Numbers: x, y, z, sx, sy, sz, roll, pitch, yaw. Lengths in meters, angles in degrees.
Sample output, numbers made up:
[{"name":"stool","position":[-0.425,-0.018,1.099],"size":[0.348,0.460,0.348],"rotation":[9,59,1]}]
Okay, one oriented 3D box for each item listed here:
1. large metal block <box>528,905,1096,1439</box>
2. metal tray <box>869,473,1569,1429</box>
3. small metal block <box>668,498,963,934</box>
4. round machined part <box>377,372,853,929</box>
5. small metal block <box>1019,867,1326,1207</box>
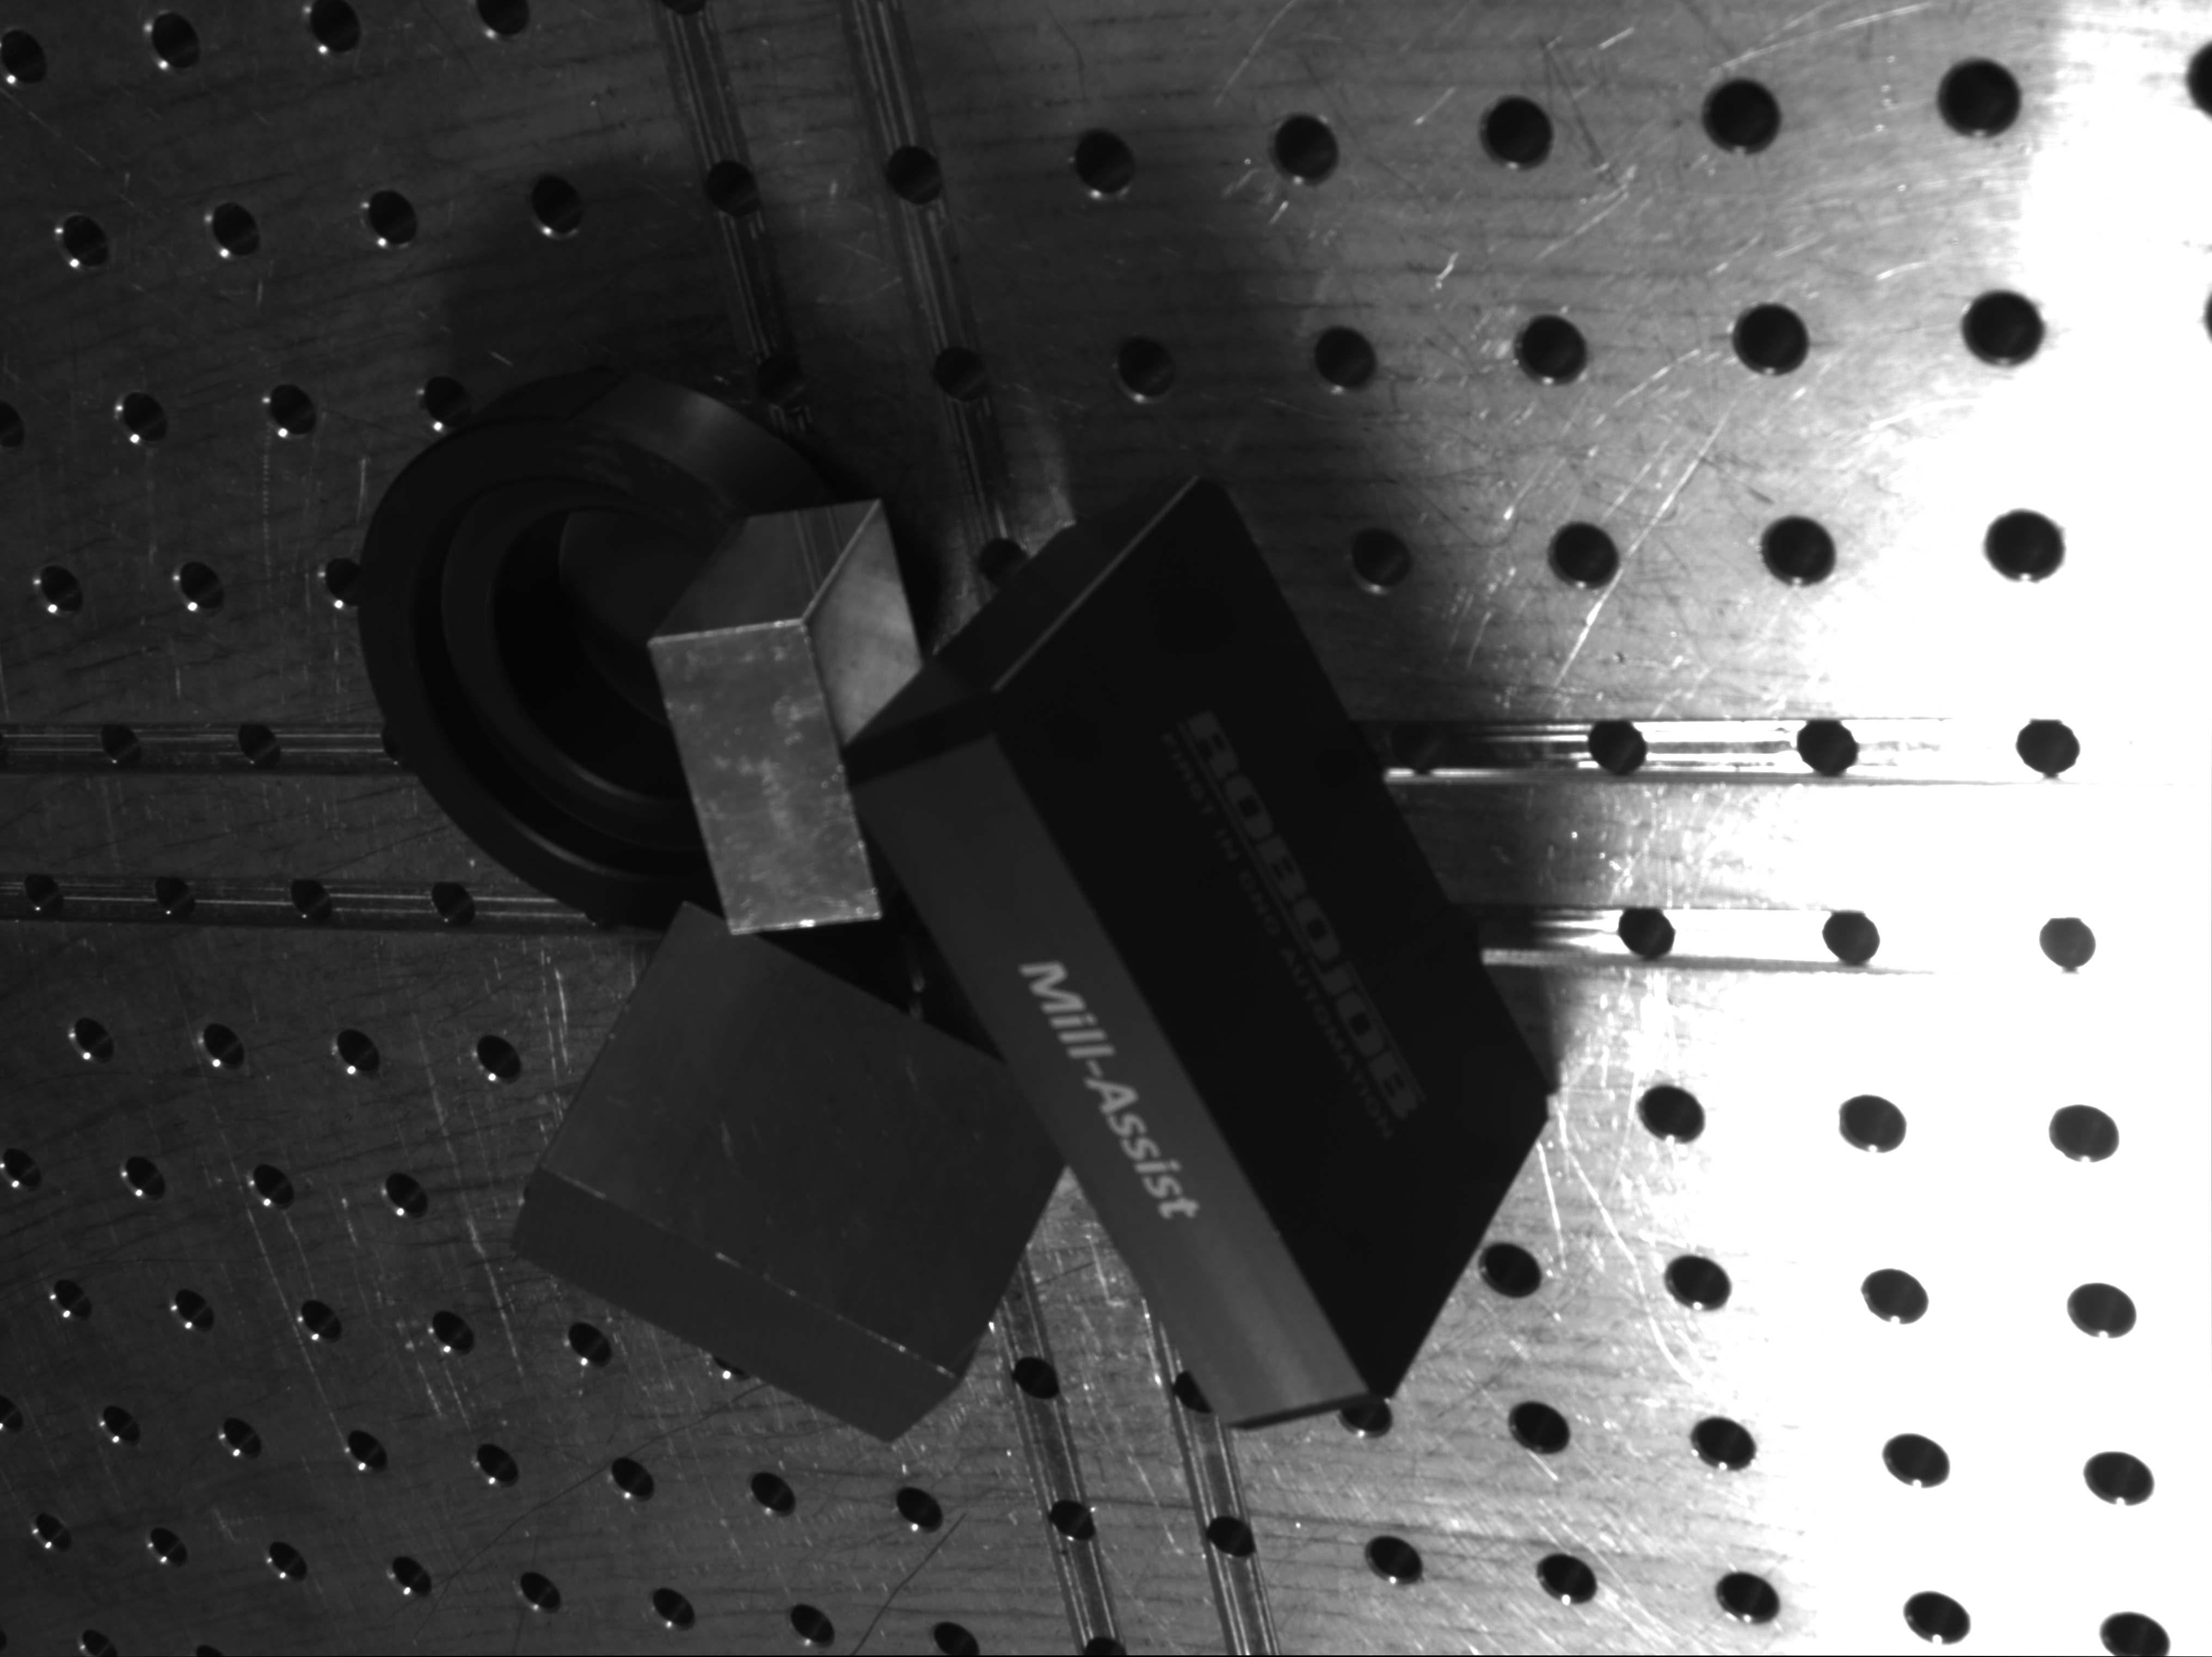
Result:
[{"name":"large metal block","position":[-0.053,0.064,0.654],"size":[0.080,0.050,0.080],"rotation":[27,160,-3]},{"name":"metal tray","position":[0.022,0.019,0.593],"size":[0.030,0.090,0.130],"rotation":[-19,109,34]},{"name":"small metal block","position":[-0.044,-0.018,0.577],"size":[0.025,0.050,0.050],"rotation":[-7,114,14]},{"name":"round machined part","position":[-0.074,-0.034,0.639],"size":[0.098,0.042,0.098],"rotation":[12,123,20]},{"name":"small metal block","position":[0.014,0.035,0.641],"size":[0.050,0.025,0.050],"rotation":[18,130,30]}]
